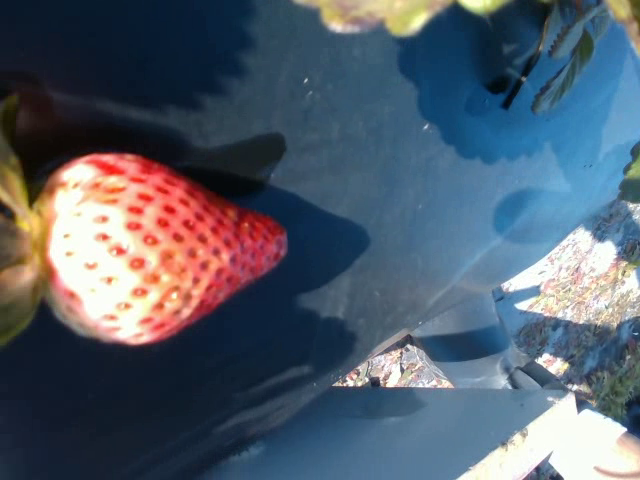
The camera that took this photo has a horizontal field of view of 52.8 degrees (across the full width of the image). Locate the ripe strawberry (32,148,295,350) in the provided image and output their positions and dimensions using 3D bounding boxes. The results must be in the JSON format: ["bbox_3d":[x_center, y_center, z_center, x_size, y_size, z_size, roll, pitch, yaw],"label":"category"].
[{"bbox_3d":[-0.026,0.003,0.118,0.064,0.044,0.044,-11,-3,-34],"label":"ripe strawberry"}]
